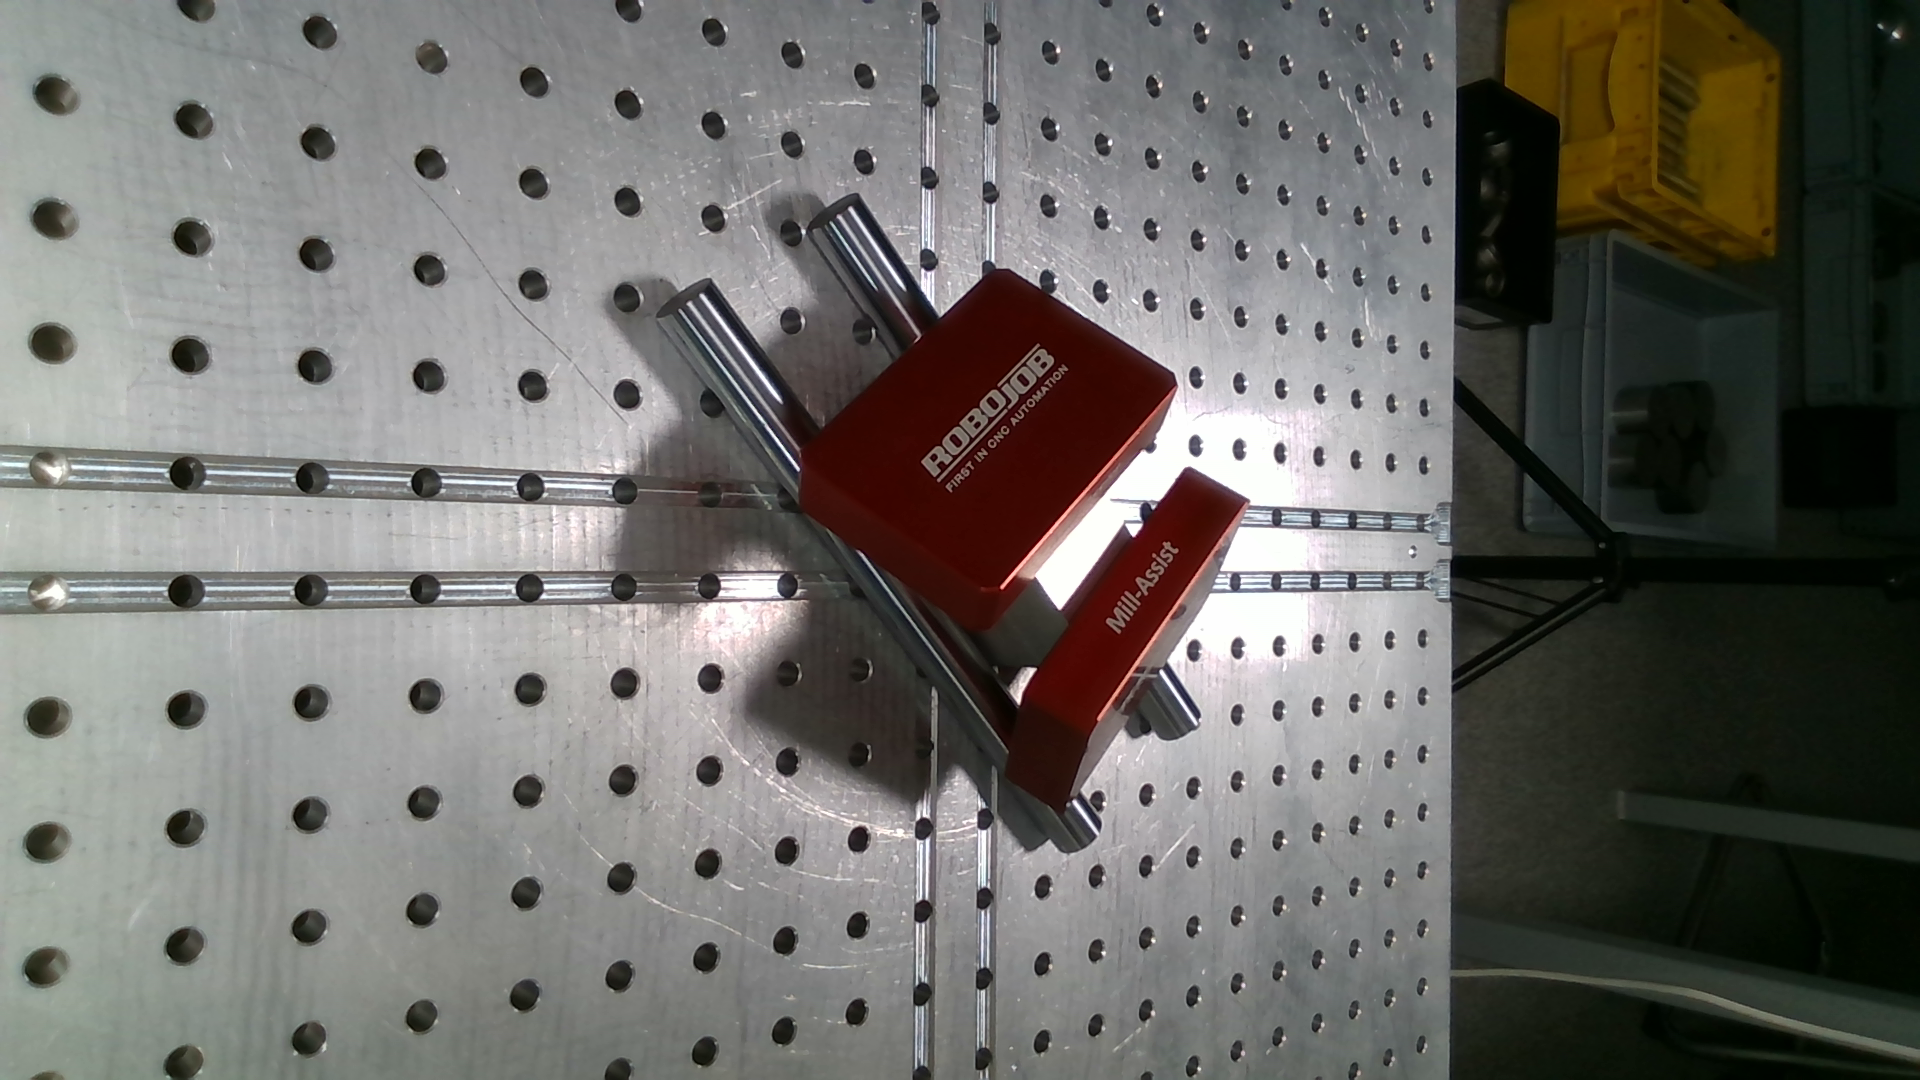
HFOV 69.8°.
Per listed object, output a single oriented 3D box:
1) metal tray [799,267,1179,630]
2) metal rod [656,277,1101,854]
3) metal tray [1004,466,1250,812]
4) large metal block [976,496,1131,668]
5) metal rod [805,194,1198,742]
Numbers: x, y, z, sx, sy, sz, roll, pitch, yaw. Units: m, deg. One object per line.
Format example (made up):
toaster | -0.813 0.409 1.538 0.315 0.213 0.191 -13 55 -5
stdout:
metal tray | 0.012 -0.039 0.525 0.090 0.030 0.130 35 60 13
metal rod | -0.023 0.023 0.567 0.025 0.025 0.301 -50 120 -29
metal tray | 0.069 0.041 0.573 0.130 0.030 0.090 -51 164 -28
large metal block | 0.025 0.008 0.571 0.050 0.080 0.080 -50 120 -29
metal rod | 0.028 -0.020 0.610 0.025 0.025 0.301 -51 120 -28
